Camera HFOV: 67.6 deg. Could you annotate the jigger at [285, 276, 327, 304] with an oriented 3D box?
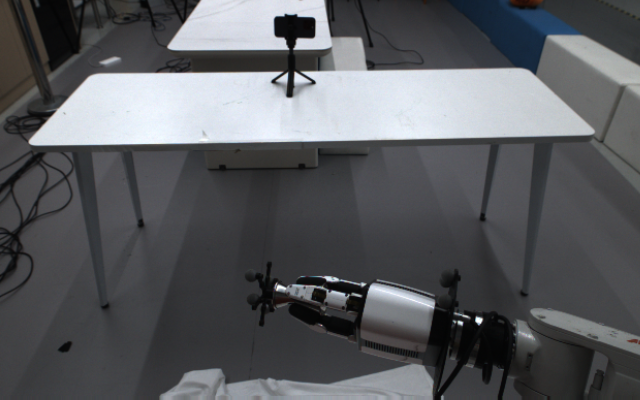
[{"bbox_3d":[-0.019,0.128,0.663,0.071,0.043,0.043,1,34,14],"label":"jigger"}]
